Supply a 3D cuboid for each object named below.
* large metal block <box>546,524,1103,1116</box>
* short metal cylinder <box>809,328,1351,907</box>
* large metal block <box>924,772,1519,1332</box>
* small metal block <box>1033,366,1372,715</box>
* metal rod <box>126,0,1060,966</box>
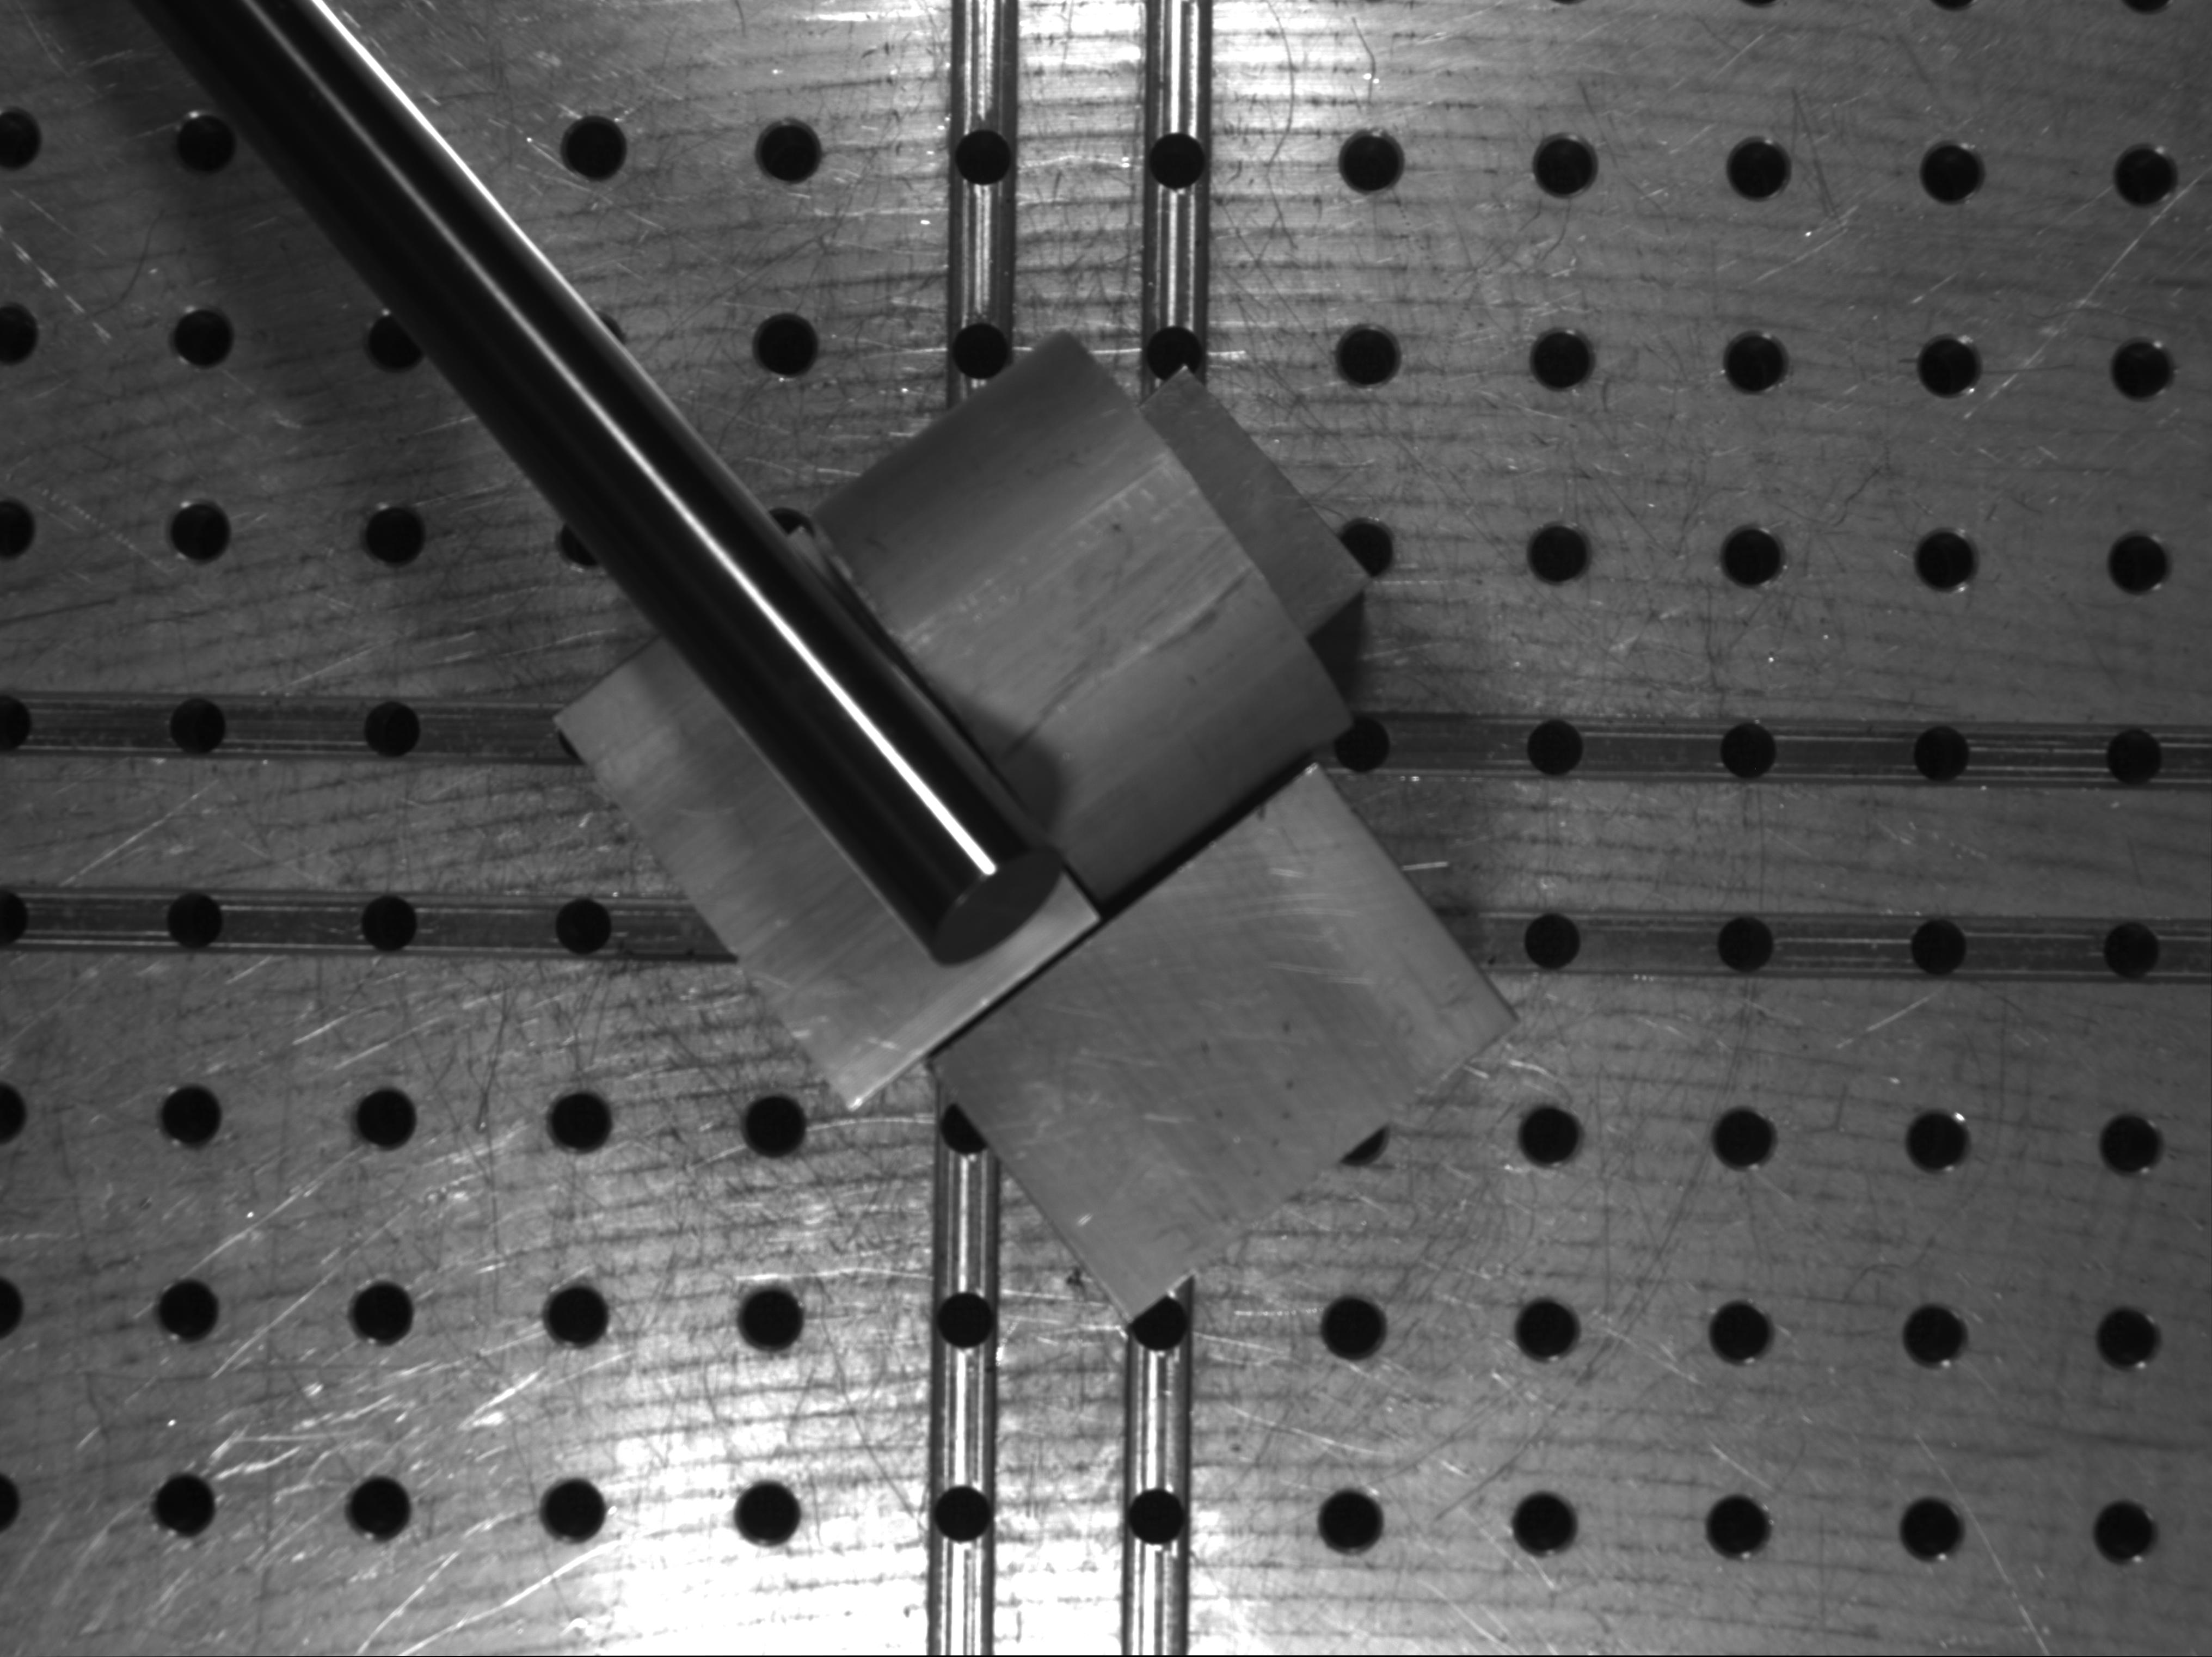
[{"bbox_3d":[-0.045,-0.001,0.620,0.050,0.080,0.080,-37,90,0],"label":"large metal block"},{"bbox_3d":[-0.004,-0.034,0.594,0.050,0.080,0.080,-37,90,0],"label":"short metal cylinder"},{"bbox_3d":[0.018,0.035,0.618,0.080,0.080,0.050,-37,90,0],"label":"large metal block"},{"bbox_3d":[0.011,-0.045,0.648,0.050,0.025,0.050,-42,90,0],"label":"small metal block"},{"bbox_3d":[-0.109,-0.093,0.594,0.025,0.025,0.300,-41,69,0],"label":"metal rod"}]
